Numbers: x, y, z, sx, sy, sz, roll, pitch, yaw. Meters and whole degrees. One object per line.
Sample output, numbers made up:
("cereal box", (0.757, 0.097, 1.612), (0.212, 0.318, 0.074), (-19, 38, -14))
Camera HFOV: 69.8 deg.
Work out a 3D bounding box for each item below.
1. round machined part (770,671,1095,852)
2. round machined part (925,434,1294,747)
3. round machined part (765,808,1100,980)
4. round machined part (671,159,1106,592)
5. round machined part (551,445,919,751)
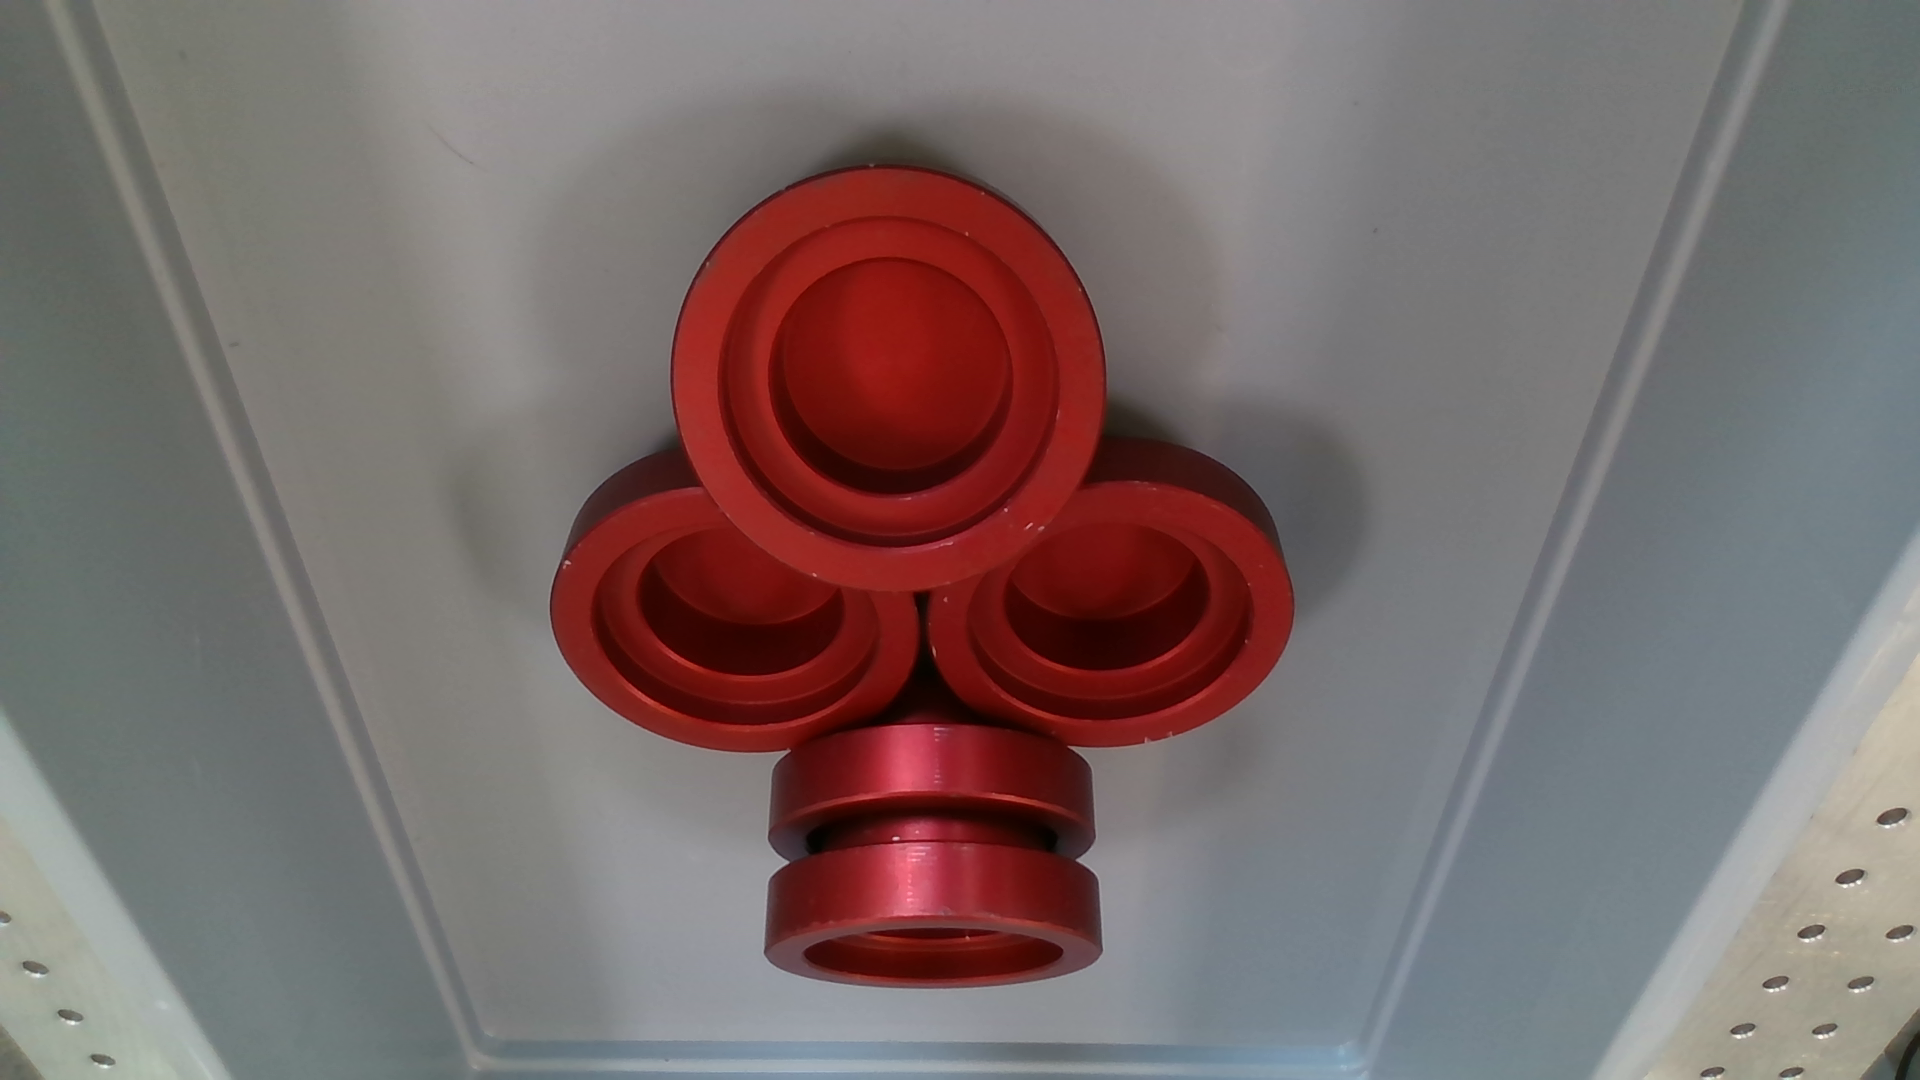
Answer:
("round machined part", (-0.009, 0.072, 0.423), (0.098, 0.042, 0.098), (-1, 152, 0))
("round machined part", (0.040, 0.010, 0.384), (0.098, 0.042, 0.098), (0, 130, 0))
("round machined part", (-0.008, 0.102, 0.412), (0.098, 0.042, 0.098), (0, 152, 0))
("round machined part", (-0.016, -0.041, 0.329), (0.098, 0.042, 0.098), (0, 109, 0))
("round machined part", (-0.060, 0.011, 0.385), (0.098, 0.042, 0.098), (0, 130, 0))
